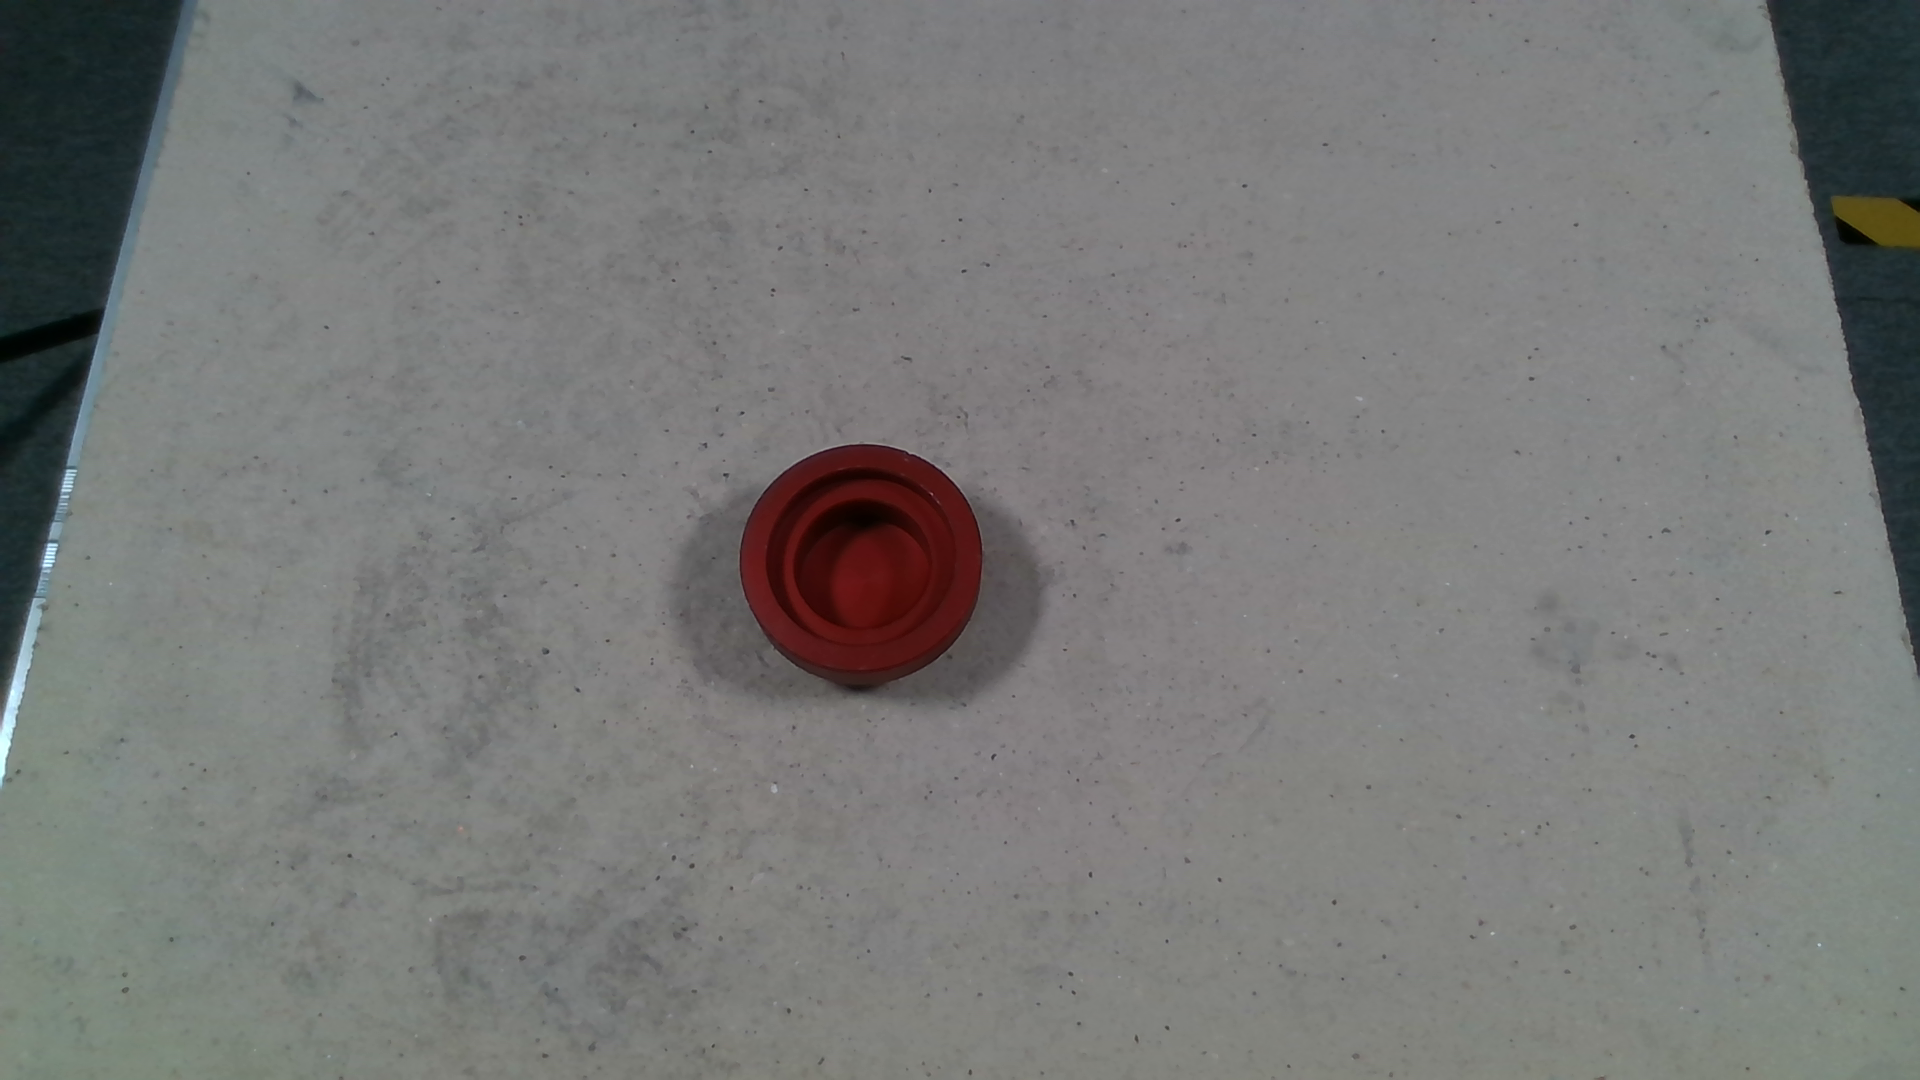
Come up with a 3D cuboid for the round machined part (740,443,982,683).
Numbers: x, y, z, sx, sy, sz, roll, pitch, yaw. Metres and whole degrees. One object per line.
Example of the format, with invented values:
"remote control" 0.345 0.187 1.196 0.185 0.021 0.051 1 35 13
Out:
"round machined part" -0.040 0.013 0.575 0.098 0.042 0.098 0 70 0
